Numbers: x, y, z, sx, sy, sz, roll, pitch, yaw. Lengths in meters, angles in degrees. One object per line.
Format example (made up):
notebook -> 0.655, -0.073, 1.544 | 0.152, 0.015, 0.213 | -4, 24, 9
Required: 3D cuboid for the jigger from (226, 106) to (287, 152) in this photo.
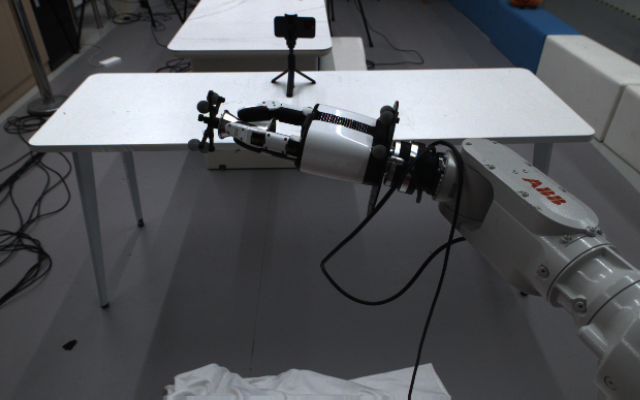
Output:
jigger -> -0.091, -0.098, 0.650 | 0.071, 0.043, 0.043 | 11, 35, 5
